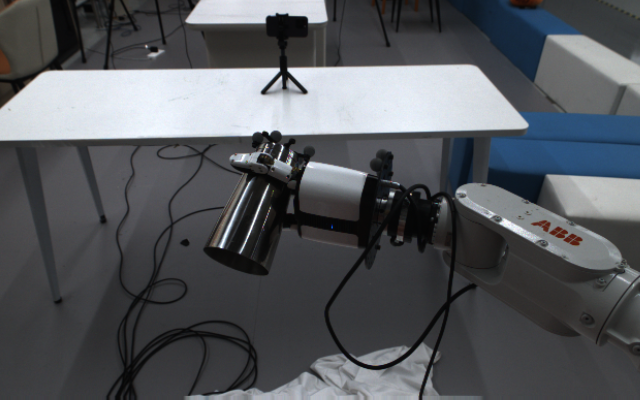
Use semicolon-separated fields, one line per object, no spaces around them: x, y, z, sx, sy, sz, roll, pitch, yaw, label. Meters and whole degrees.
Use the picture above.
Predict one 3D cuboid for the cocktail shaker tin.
-0.083;0.005;0.668;0.093;0.093;0.170;12;65;14;cocktail shaker tin
